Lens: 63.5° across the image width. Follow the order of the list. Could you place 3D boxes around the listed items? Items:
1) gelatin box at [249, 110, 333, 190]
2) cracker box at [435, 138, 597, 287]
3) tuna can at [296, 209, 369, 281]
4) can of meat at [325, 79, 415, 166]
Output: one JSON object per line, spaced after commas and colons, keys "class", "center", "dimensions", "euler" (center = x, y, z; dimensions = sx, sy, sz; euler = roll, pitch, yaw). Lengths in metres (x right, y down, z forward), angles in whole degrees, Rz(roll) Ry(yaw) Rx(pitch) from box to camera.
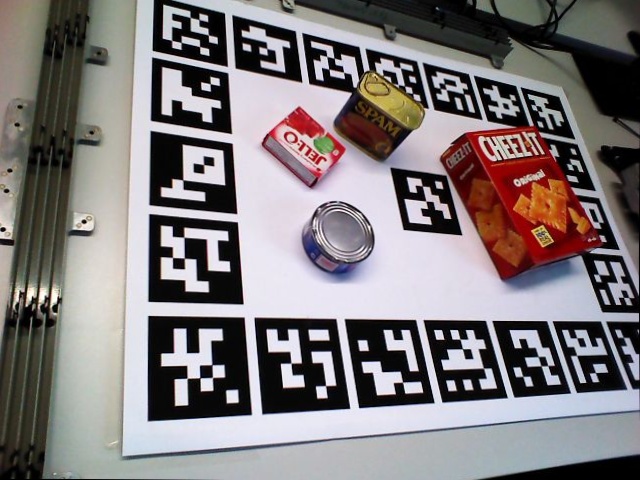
{"class": "gelatin box", "center": [-0.036, -0.121, 0.685], "dimensions": [0.089, 0.030, 0.073], "euler": [42, 51, -3]}
{"class": "cracker box", "center": [0.300, -0.051, 0.790], "dimensions": [0.163, 0.072, 0.213], "euler": [-12, 68, -32]}
{"class": "tuna can", "center": [0.014, 0.007, 0.634], "dimensions": [0.085, 0.034, 0.085], "euler": [10, 63, -20]}
{"class": "can of meat", "center": [0.068, -0.163, 0.735], "dimensions": [0.102, 0.084, 0.057], "euler": [30, 54, -7]}
